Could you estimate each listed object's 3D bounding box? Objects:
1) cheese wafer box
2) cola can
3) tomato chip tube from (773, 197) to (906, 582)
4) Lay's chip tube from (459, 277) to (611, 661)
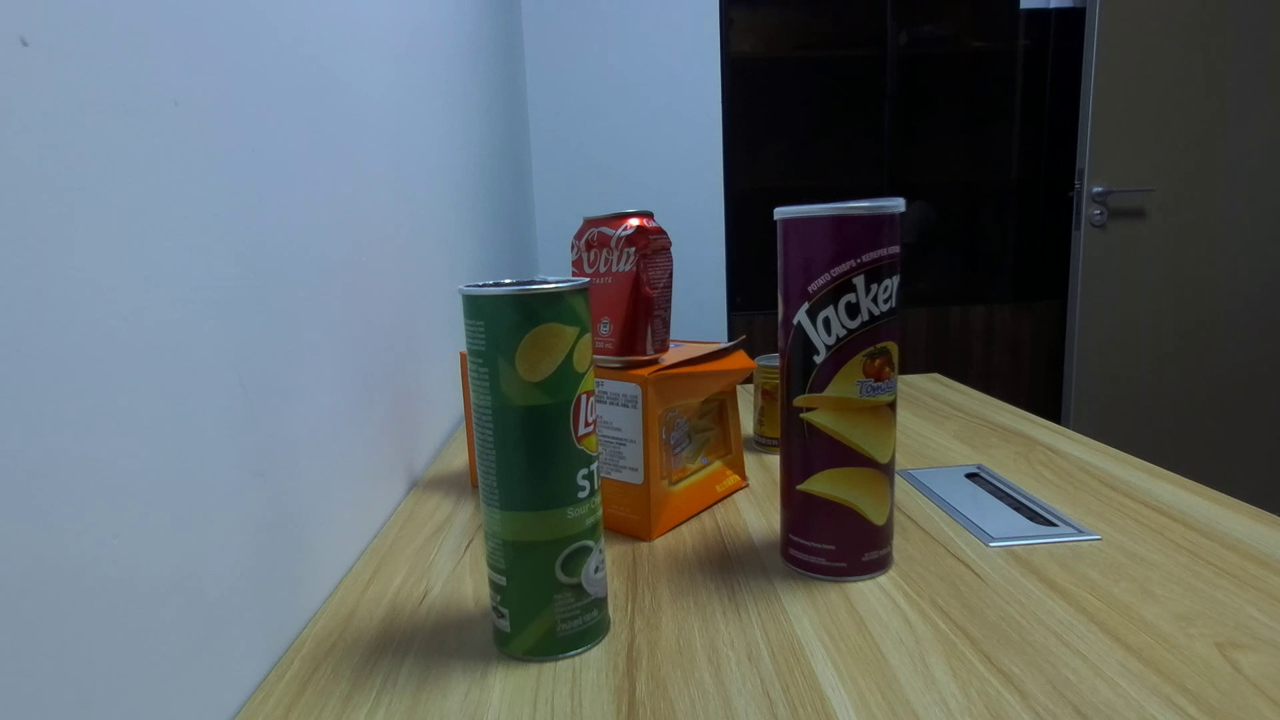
[{"bbox_3d":[-0.030,0.050,0.627,0.226,0.137,0.150,5,12,39],"label":"cheese wafer box"},{"bbox_3d":[-0.012,-0.053,0.531,0.066,0.112,0.069,-9,11,-31],"label":"cola can"},{"bbox_3d":[0.131,0.020,0.465,0.078,0.233,0.078,-3,9,1],"label":"tomato chip tube"},{"bbox_3d":[-0.056,0.057,0.394,0.071,0.202,0.071,-2,10,1],"label":"Lay's chip tube"}]
